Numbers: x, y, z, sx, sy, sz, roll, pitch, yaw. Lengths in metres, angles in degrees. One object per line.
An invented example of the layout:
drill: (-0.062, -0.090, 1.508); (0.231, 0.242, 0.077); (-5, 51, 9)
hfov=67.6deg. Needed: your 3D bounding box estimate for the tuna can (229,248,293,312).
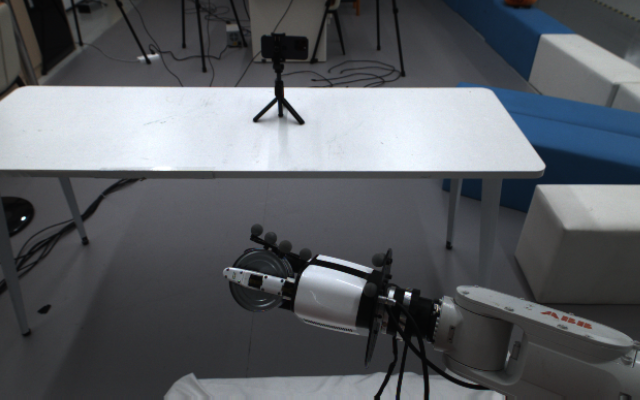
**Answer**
tuna can: (-0.078, 0.110, 0.669); (0.085, 0.085, 0.034); (13, -6, 16)
